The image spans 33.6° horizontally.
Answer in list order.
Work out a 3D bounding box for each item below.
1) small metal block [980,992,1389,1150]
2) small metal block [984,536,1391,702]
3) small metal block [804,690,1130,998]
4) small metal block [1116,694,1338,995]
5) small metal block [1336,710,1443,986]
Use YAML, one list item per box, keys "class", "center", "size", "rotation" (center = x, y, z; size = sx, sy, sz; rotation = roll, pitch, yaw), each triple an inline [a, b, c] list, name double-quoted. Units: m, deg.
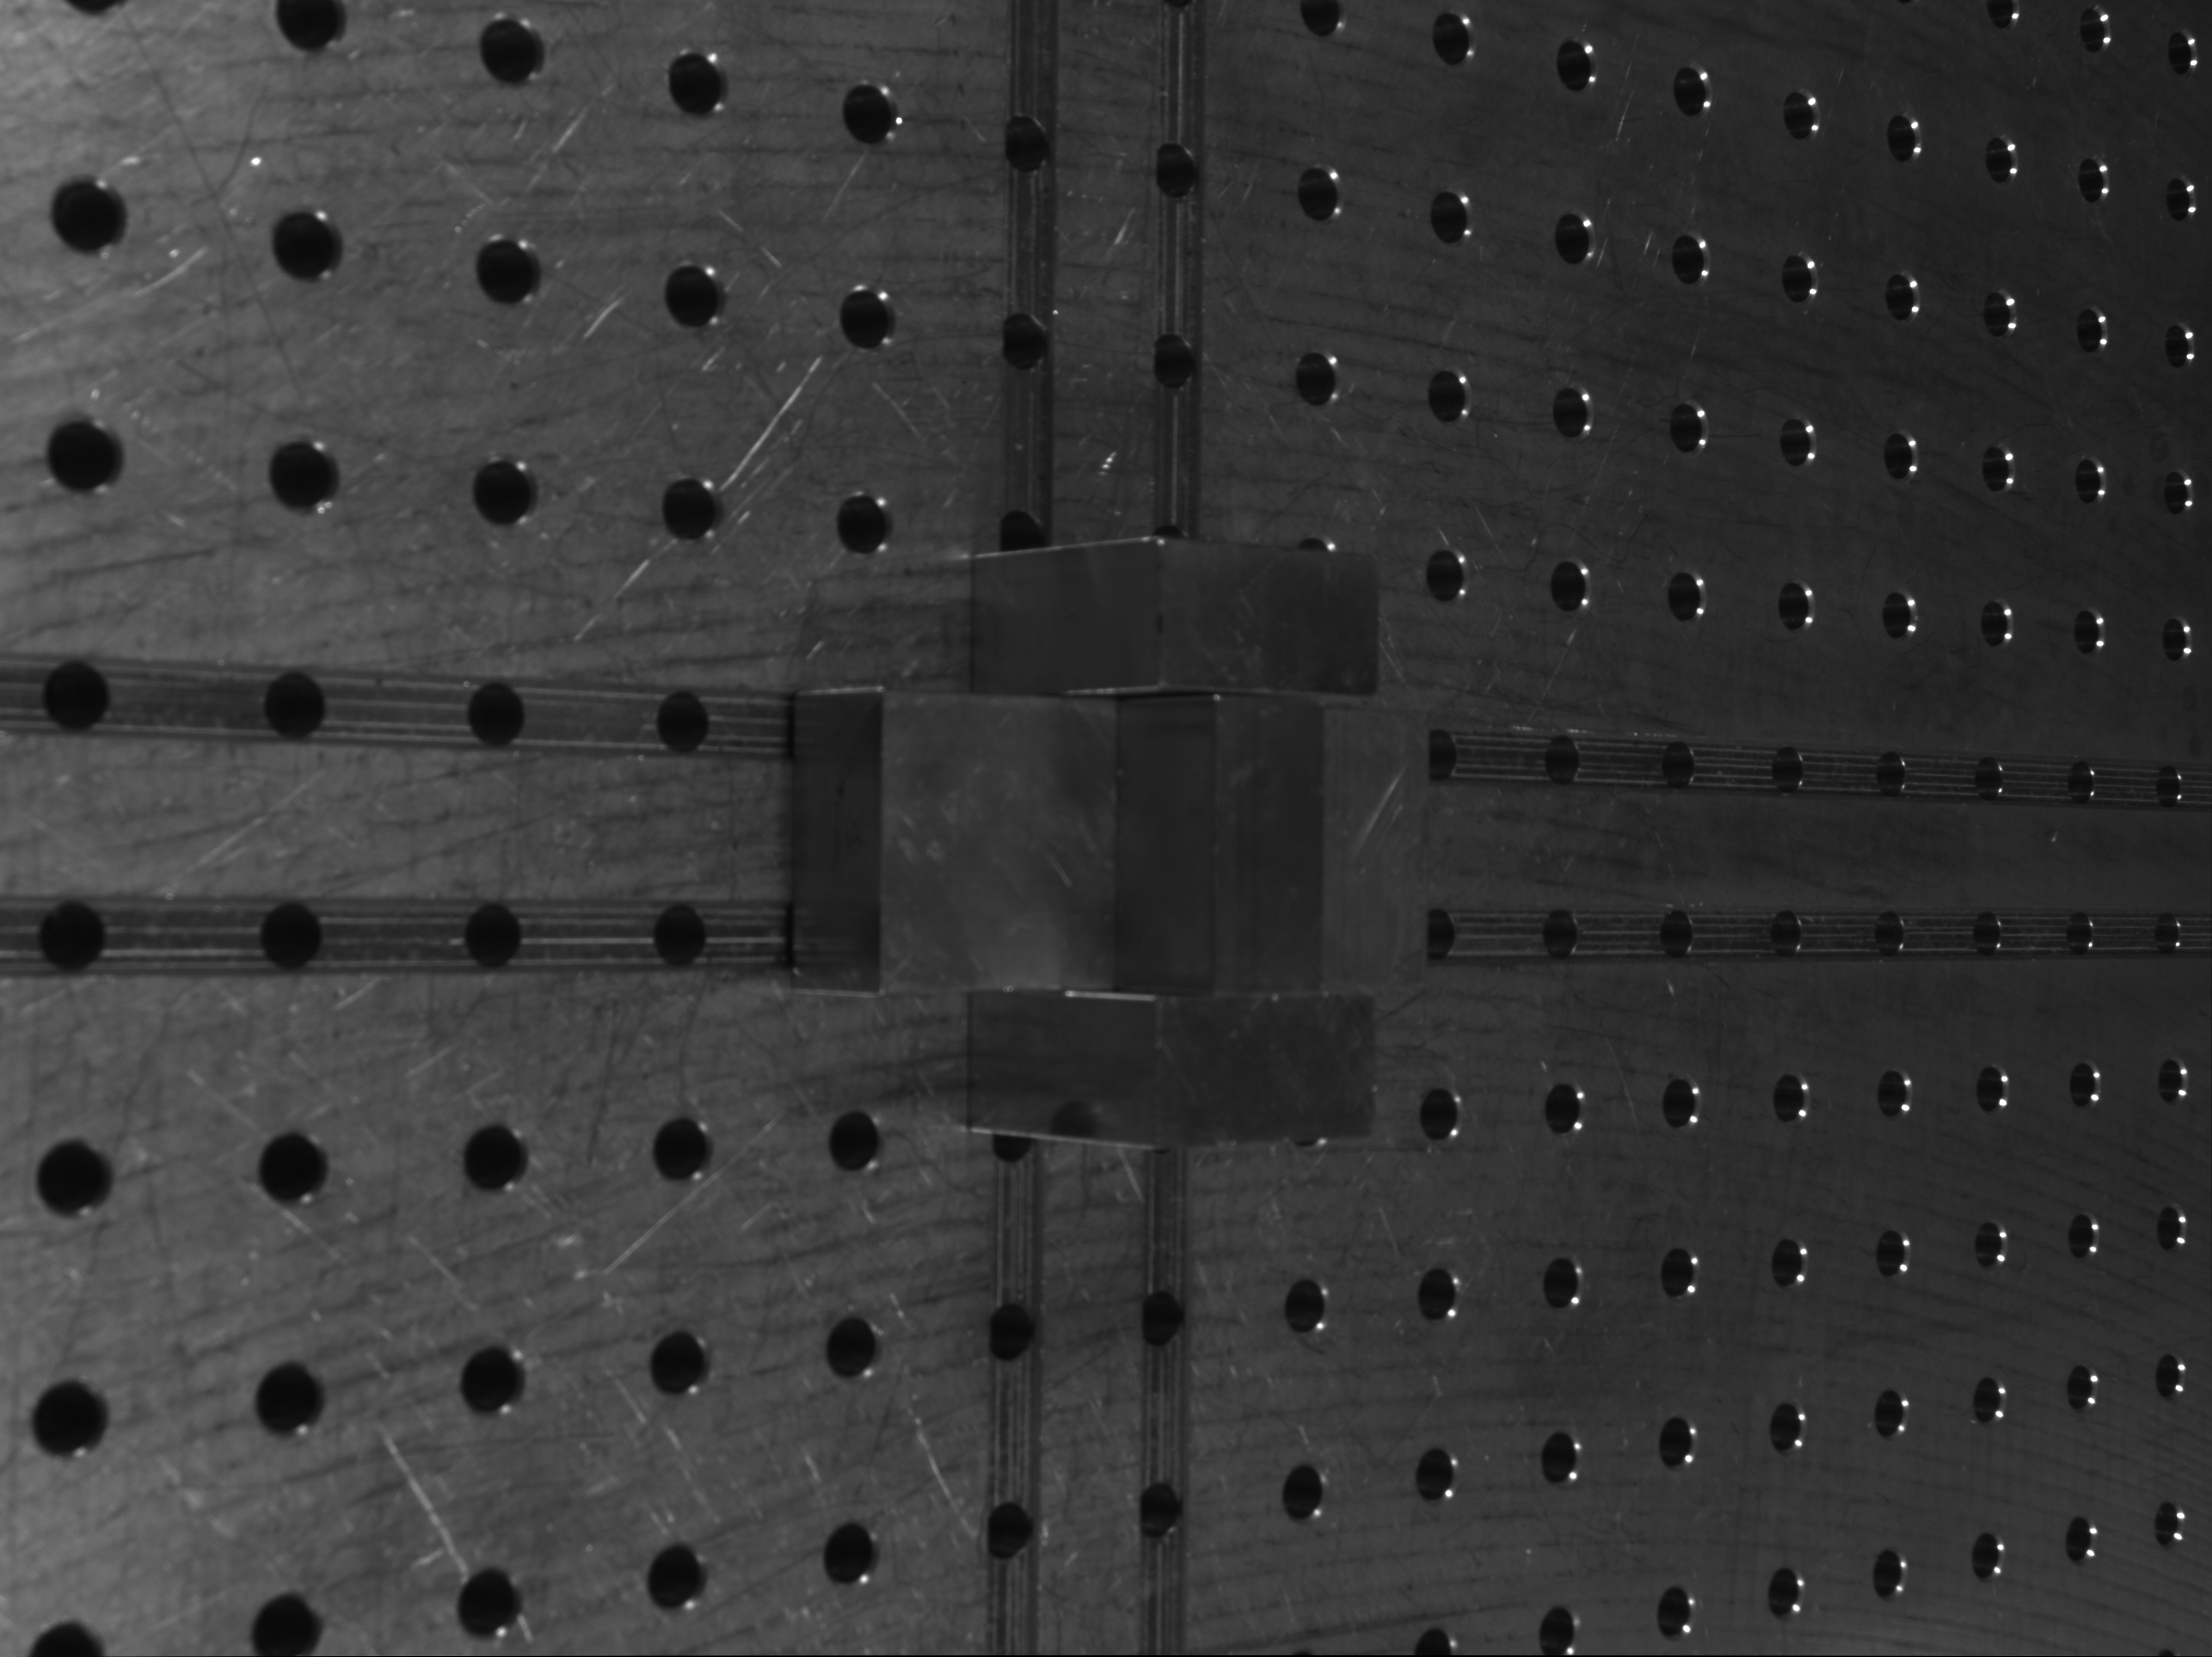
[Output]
- class: "small metal block"
  center: [0.013, 0.041, 0.635]
  size: [0.050, 0.050, 0.025]
  rotation: [1, 89, -40]
- class: "small metal block"
  center: [0.014, -0.035, 0.635]
  size: [0.050, 0.050, 0.025]
  rotation: [1, 89, -40]
- class: "small metal block"
  center: [-0.023, 0.003, 0.620]
  size: [0.050, 0.025, 0.050]
  rotation: [1, 89, -40]
- class: "small metal block"
  center: [0.014, 0.003, 0.635]
  size: [0.025, 0.050, 0.050]
  rotation: [1, 89, -40]
- class: "small metal block"
  center: [0.035, 0.003, 0.669]
  size: [0.050, 0.025, 0.050]
  rotation: [2, 89, -40]
